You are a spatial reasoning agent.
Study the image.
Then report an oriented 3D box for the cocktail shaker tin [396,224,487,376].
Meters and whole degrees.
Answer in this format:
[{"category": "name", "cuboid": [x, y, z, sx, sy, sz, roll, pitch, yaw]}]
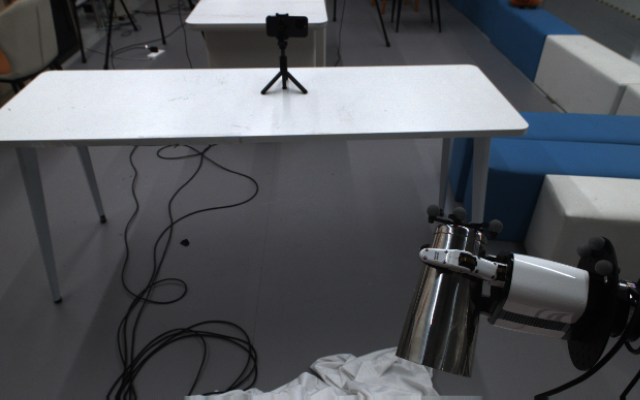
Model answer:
[{"category": "cocktail shaker tin", "cuboid": [0.163, 0.118, 0.605, 0.093, 0.093, 0.170, 12, 77, 15]}]
